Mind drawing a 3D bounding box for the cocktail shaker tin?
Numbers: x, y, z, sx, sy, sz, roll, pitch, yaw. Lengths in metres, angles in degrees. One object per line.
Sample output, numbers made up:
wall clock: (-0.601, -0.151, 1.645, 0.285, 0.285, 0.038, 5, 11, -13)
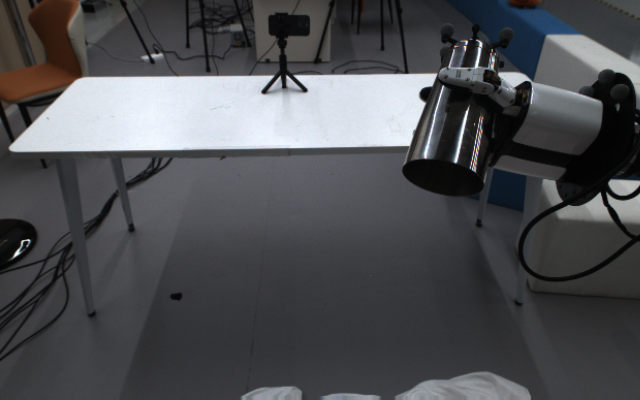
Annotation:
cocktail shaker tin: (0.163, -0.101, 0.568, 0.093, 0.093, 0.170, 13, 70, 15)
